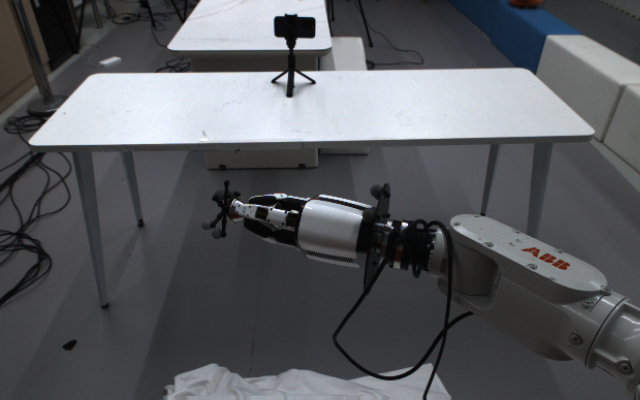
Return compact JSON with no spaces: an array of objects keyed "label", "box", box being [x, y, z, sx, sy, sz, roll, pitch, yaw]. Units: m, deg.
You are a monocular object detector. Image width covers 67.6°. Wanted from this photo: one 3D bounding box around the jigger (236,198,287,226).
[{"label":"jigger","box":[-0.090,0.016,0.723,0.071,0.043,0.043,7,35,15]}]
